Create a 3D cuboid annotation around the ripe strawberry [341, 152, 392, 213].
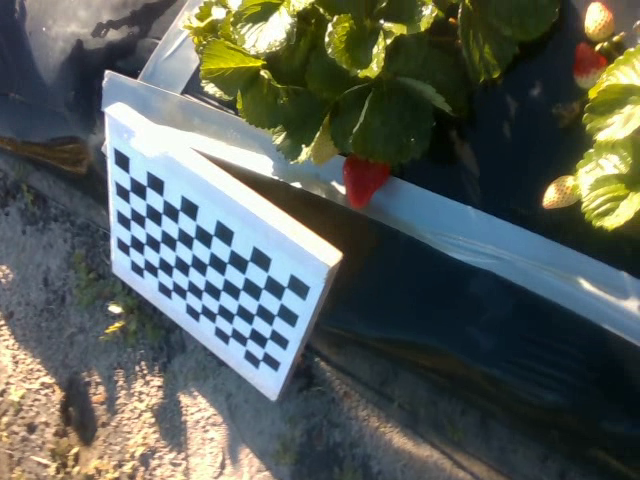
[{"bbox_3d":[0.036,-0.054,0.510,0.048,0.064,0.045,28,-33,-20],"label":"ripe strawberry"}]
